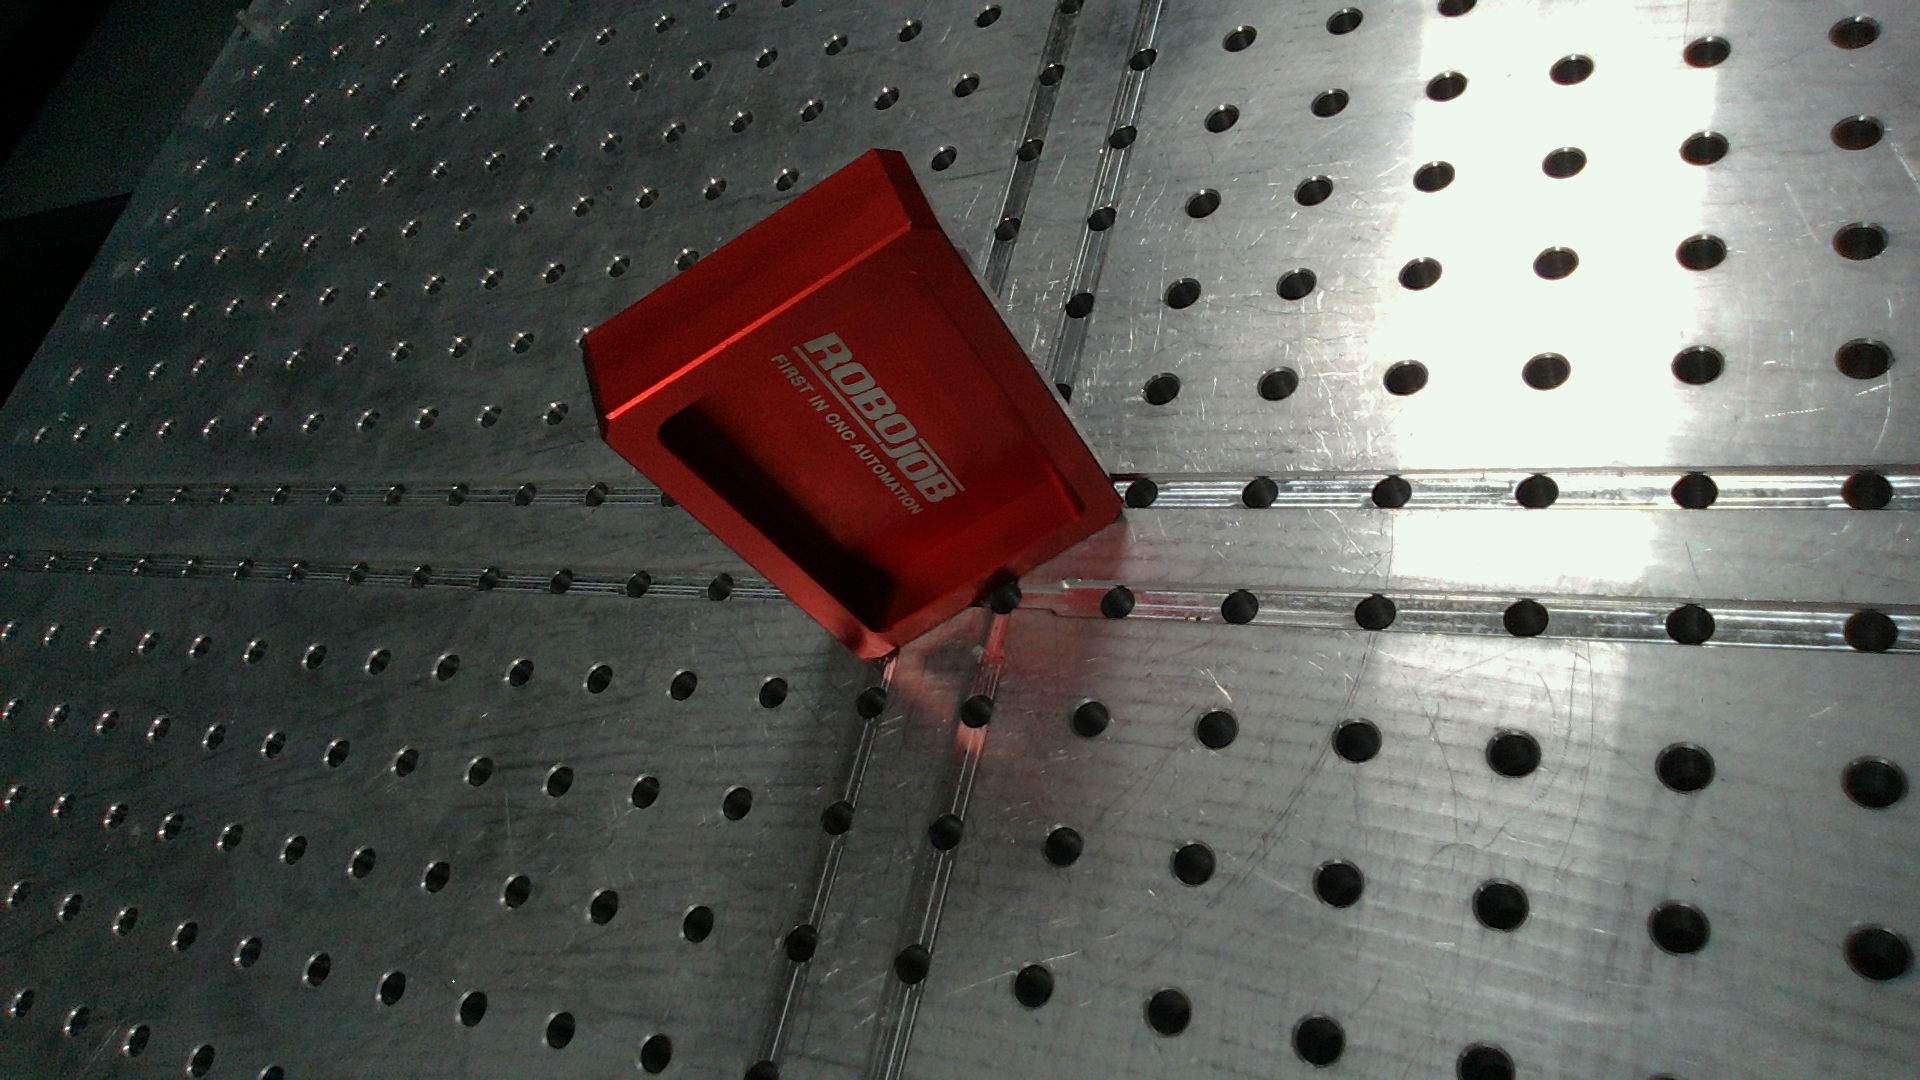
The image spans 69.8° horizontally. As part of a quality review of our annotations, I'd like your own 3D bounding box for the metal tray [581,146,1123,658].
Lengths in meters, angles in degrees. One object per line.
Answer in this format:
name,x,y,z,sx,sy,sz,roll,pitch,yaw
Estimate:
metal tray,-0.022,-0.027,0.357,0.090,0.130,0.030,-31,51,9
